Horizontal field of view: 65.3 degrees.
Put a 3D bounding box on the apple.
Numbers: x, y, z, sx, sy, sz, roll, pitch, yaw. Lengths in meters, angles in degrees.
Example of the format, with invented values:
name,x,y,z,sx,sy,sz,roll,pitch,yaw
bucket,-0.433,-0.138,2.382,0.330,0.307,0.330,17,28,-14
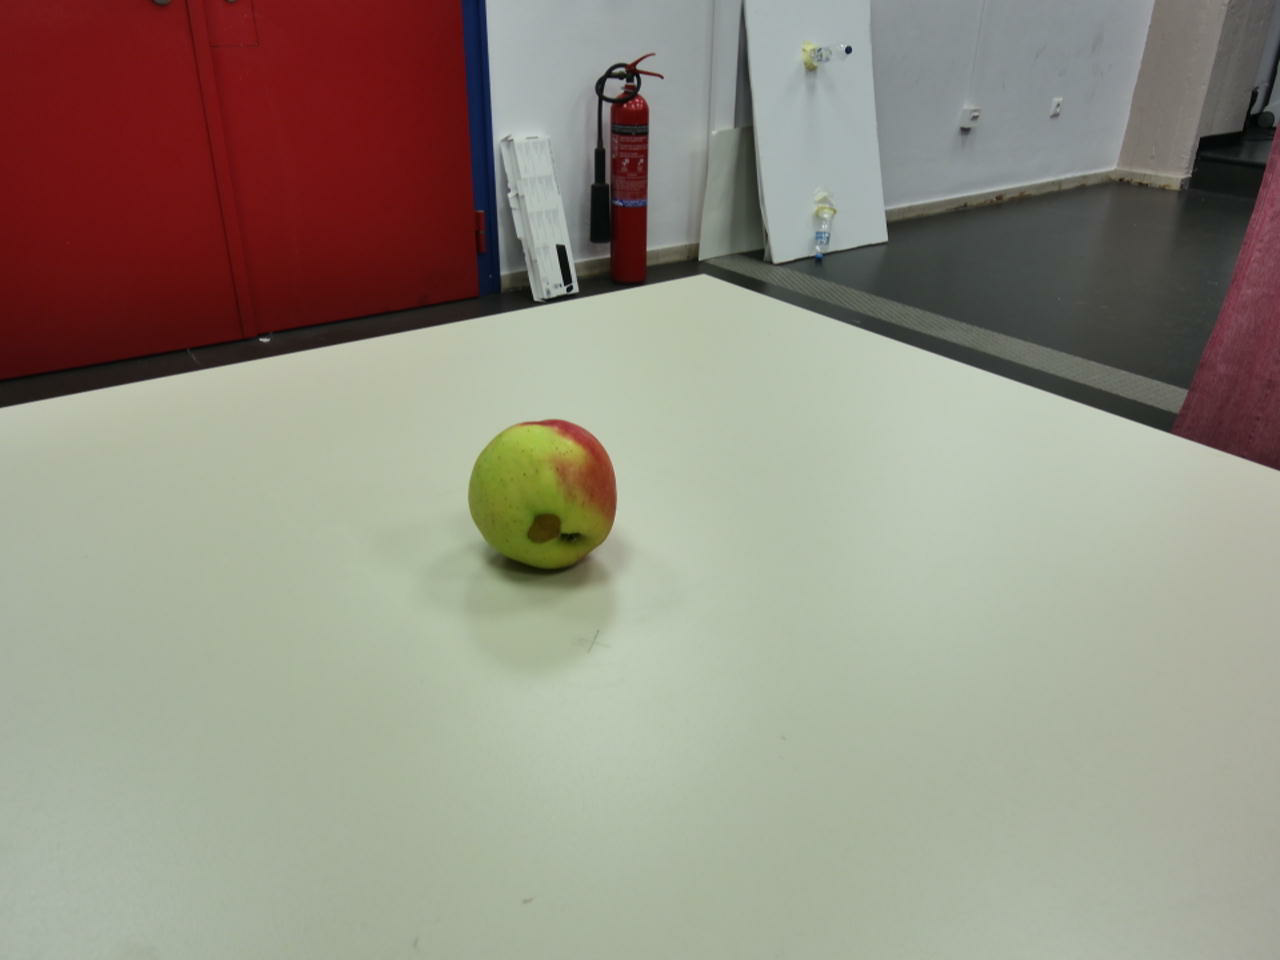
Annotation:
name,x,y,z,sx,sy,sz,roll,pitch,yaw
apple,-0.047,0.006,0.507,0.075,0.074,0.075,16,29,29
